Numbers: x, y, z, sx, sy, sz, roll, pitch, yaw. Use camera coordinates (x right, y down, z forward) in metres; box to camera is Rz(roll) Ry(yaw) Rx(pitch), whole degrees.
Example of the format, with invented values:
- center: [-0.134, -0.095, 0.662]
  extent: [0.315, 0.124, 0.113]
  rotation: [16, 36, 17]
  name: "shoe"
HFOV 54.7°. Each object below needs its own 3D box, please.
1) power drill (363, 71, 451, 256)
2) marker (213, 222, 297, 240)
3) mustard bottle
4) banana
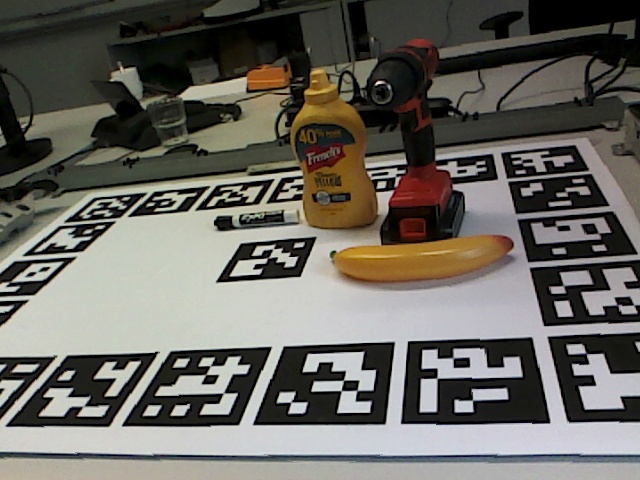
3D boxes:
- center: [0.100, -0.081, 0.687]
  extent: [0.058, 0.186, 0.184]
  rotation: [4, 29, 25]
  name: "power drill"
- center: [-0.092, -0.011, 0.856]
  extent: [0.121, 0.019, 0.019]
  rotation: [-4, 30, 16]
  name: "marker"
- center: [0.012, -0.091, 0.776]
  extent: [0.097, 0.191, 0.058]
  rotation: [2, 30, 23]
  name: "mustard bottle"
- center: [0.092, 0.046, 0.658]
  extent: [0.198, 0.039, 0.074]
  rotation: [-2, 31, 23]
  name: "banana"
